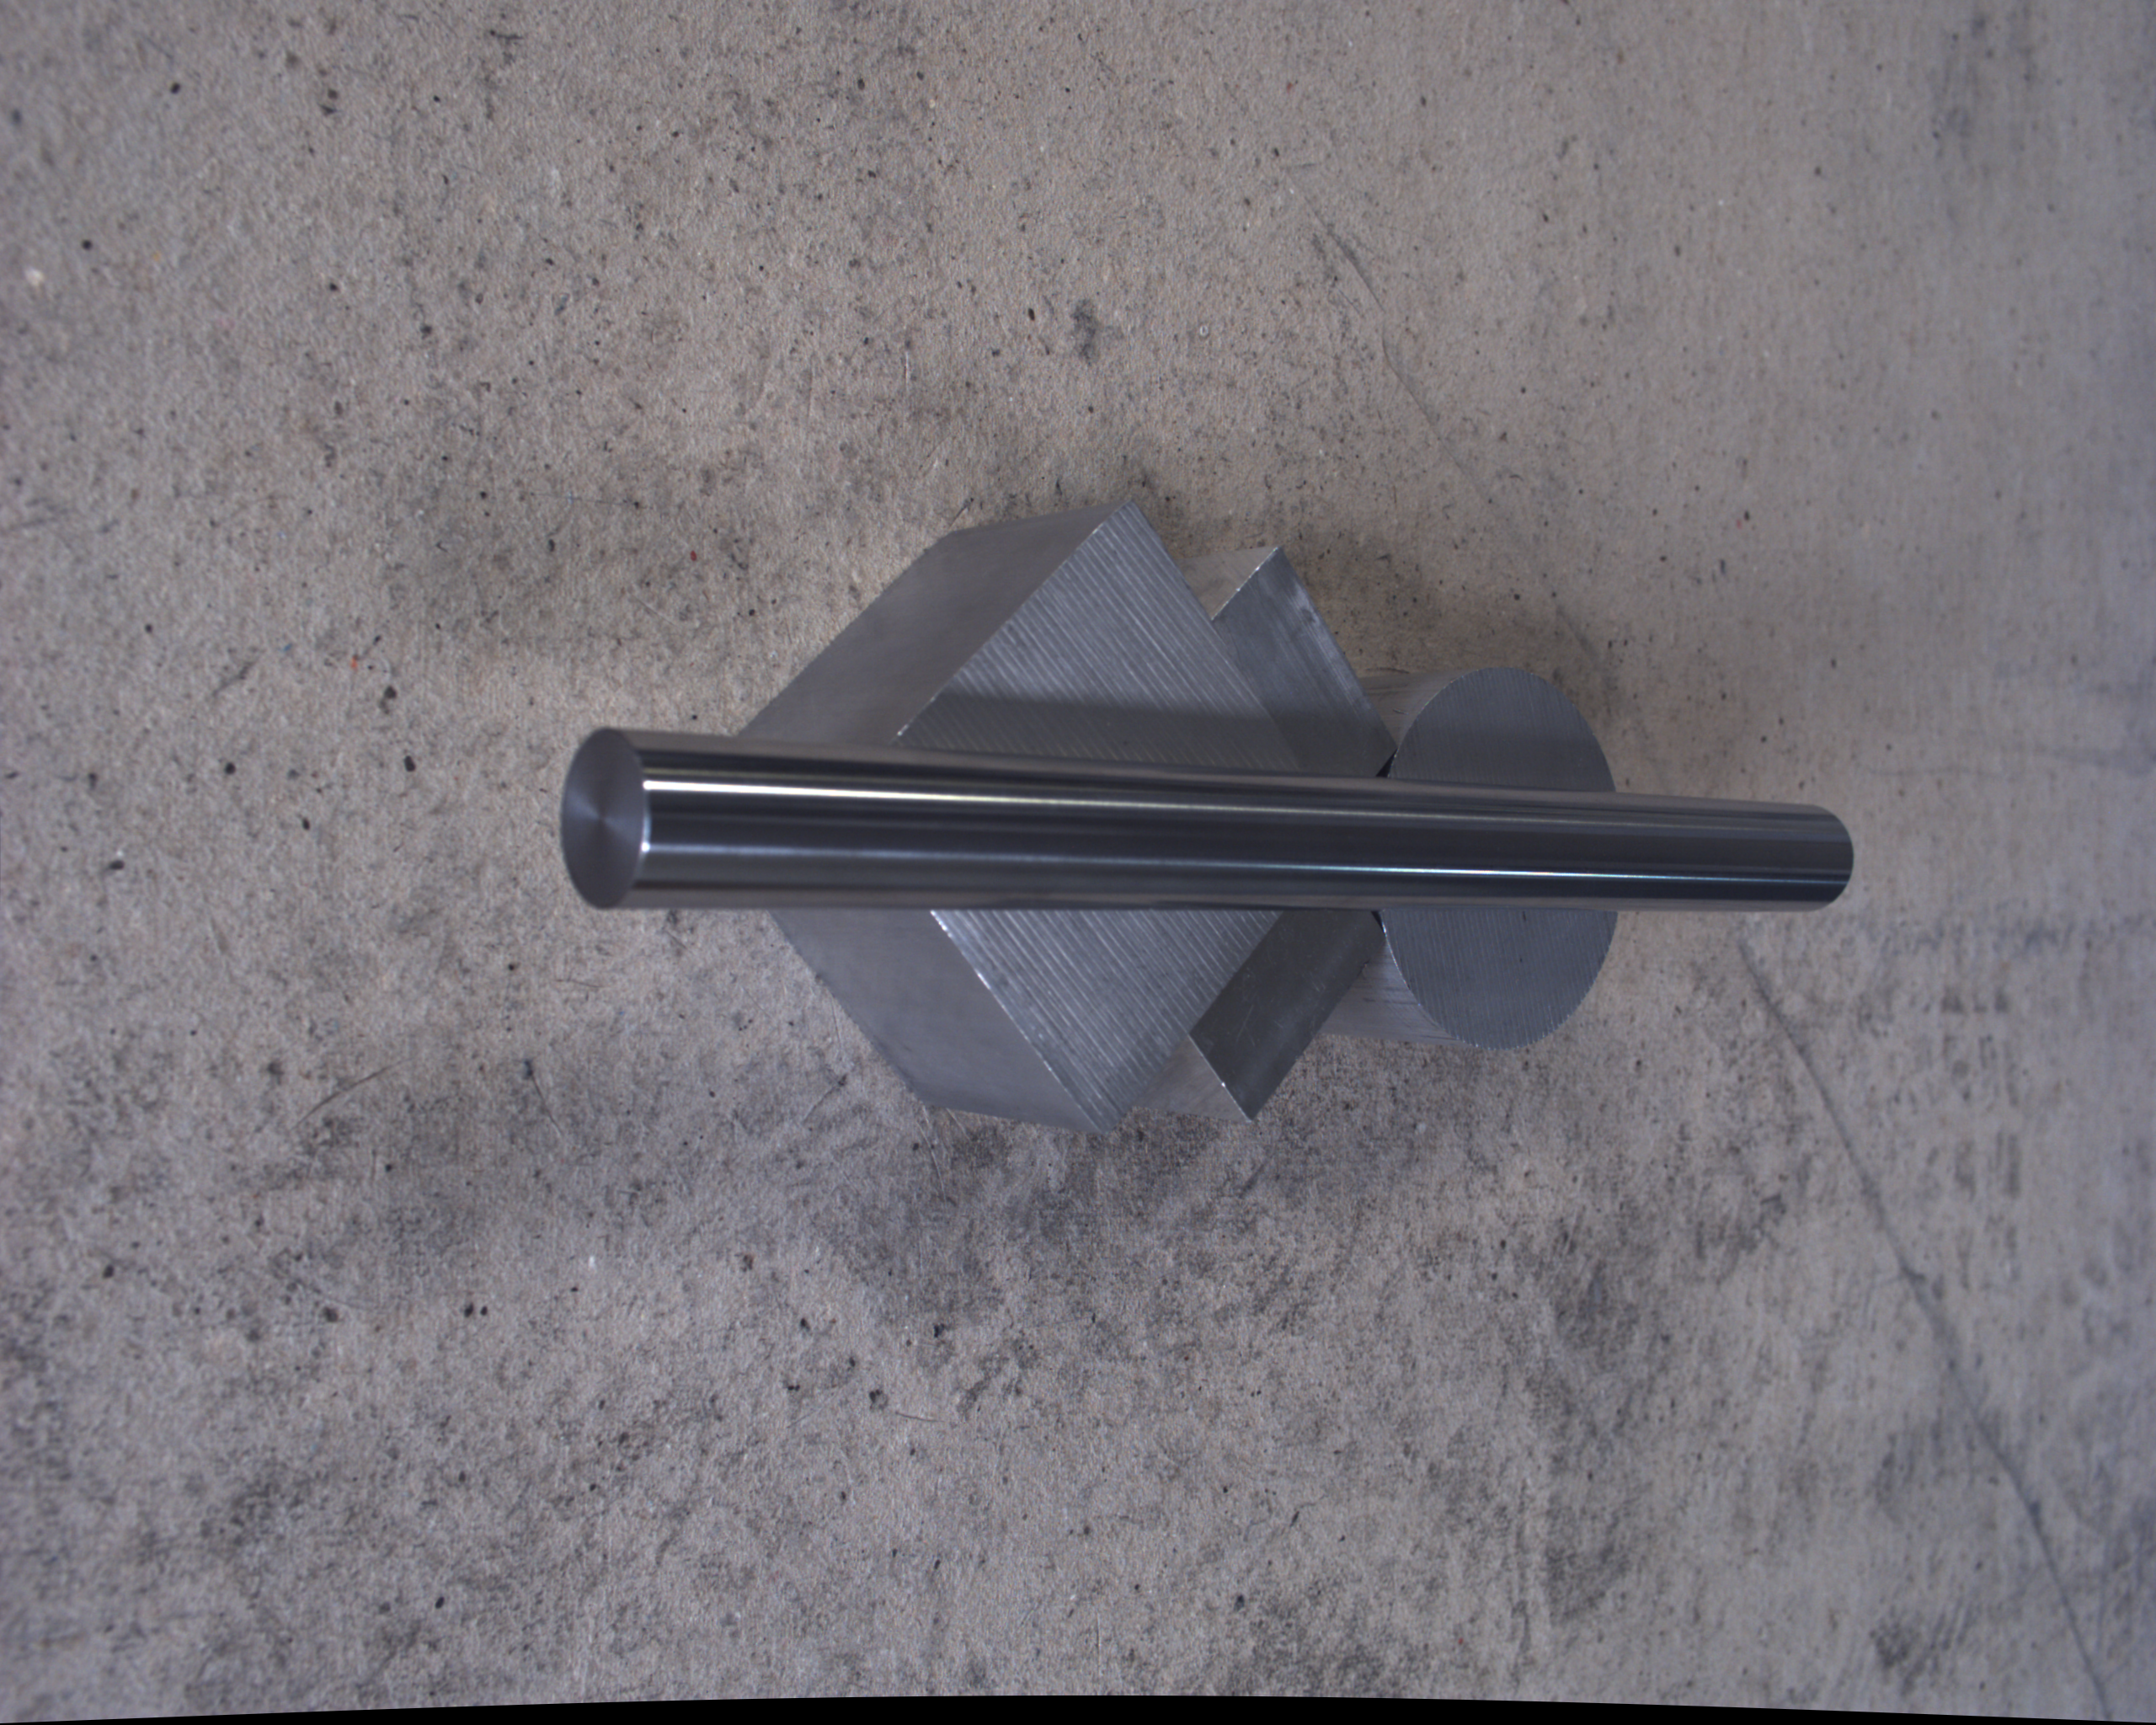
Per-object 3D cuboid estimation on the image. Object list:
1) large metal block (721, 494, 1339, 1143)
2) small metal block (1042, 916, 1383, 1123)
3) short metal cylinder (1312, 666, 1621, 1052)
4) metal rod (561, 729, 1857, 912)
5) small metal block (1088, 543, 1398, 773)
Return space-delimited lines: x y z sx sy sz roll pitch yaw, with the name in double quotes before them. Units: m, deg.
"large metal block" -0.009 -0.008 0.380 0.080 0.050 0.080 -50 119 -28
"small metal block" 0.023 0.022 0.410 0.050 0.050 0.025 -50 120 -28
"short metal cylinder" 0.073 -0.001 0.450 0.081 0.050 0.080 0 90 -40
"metal rod" 0.051 -0.003 0.381 0.302 0.025 0.025 1 90 -40
"small metal block" 0.027 -0.033 0.413 0.025 0.050 0.050 -50 120 -28
